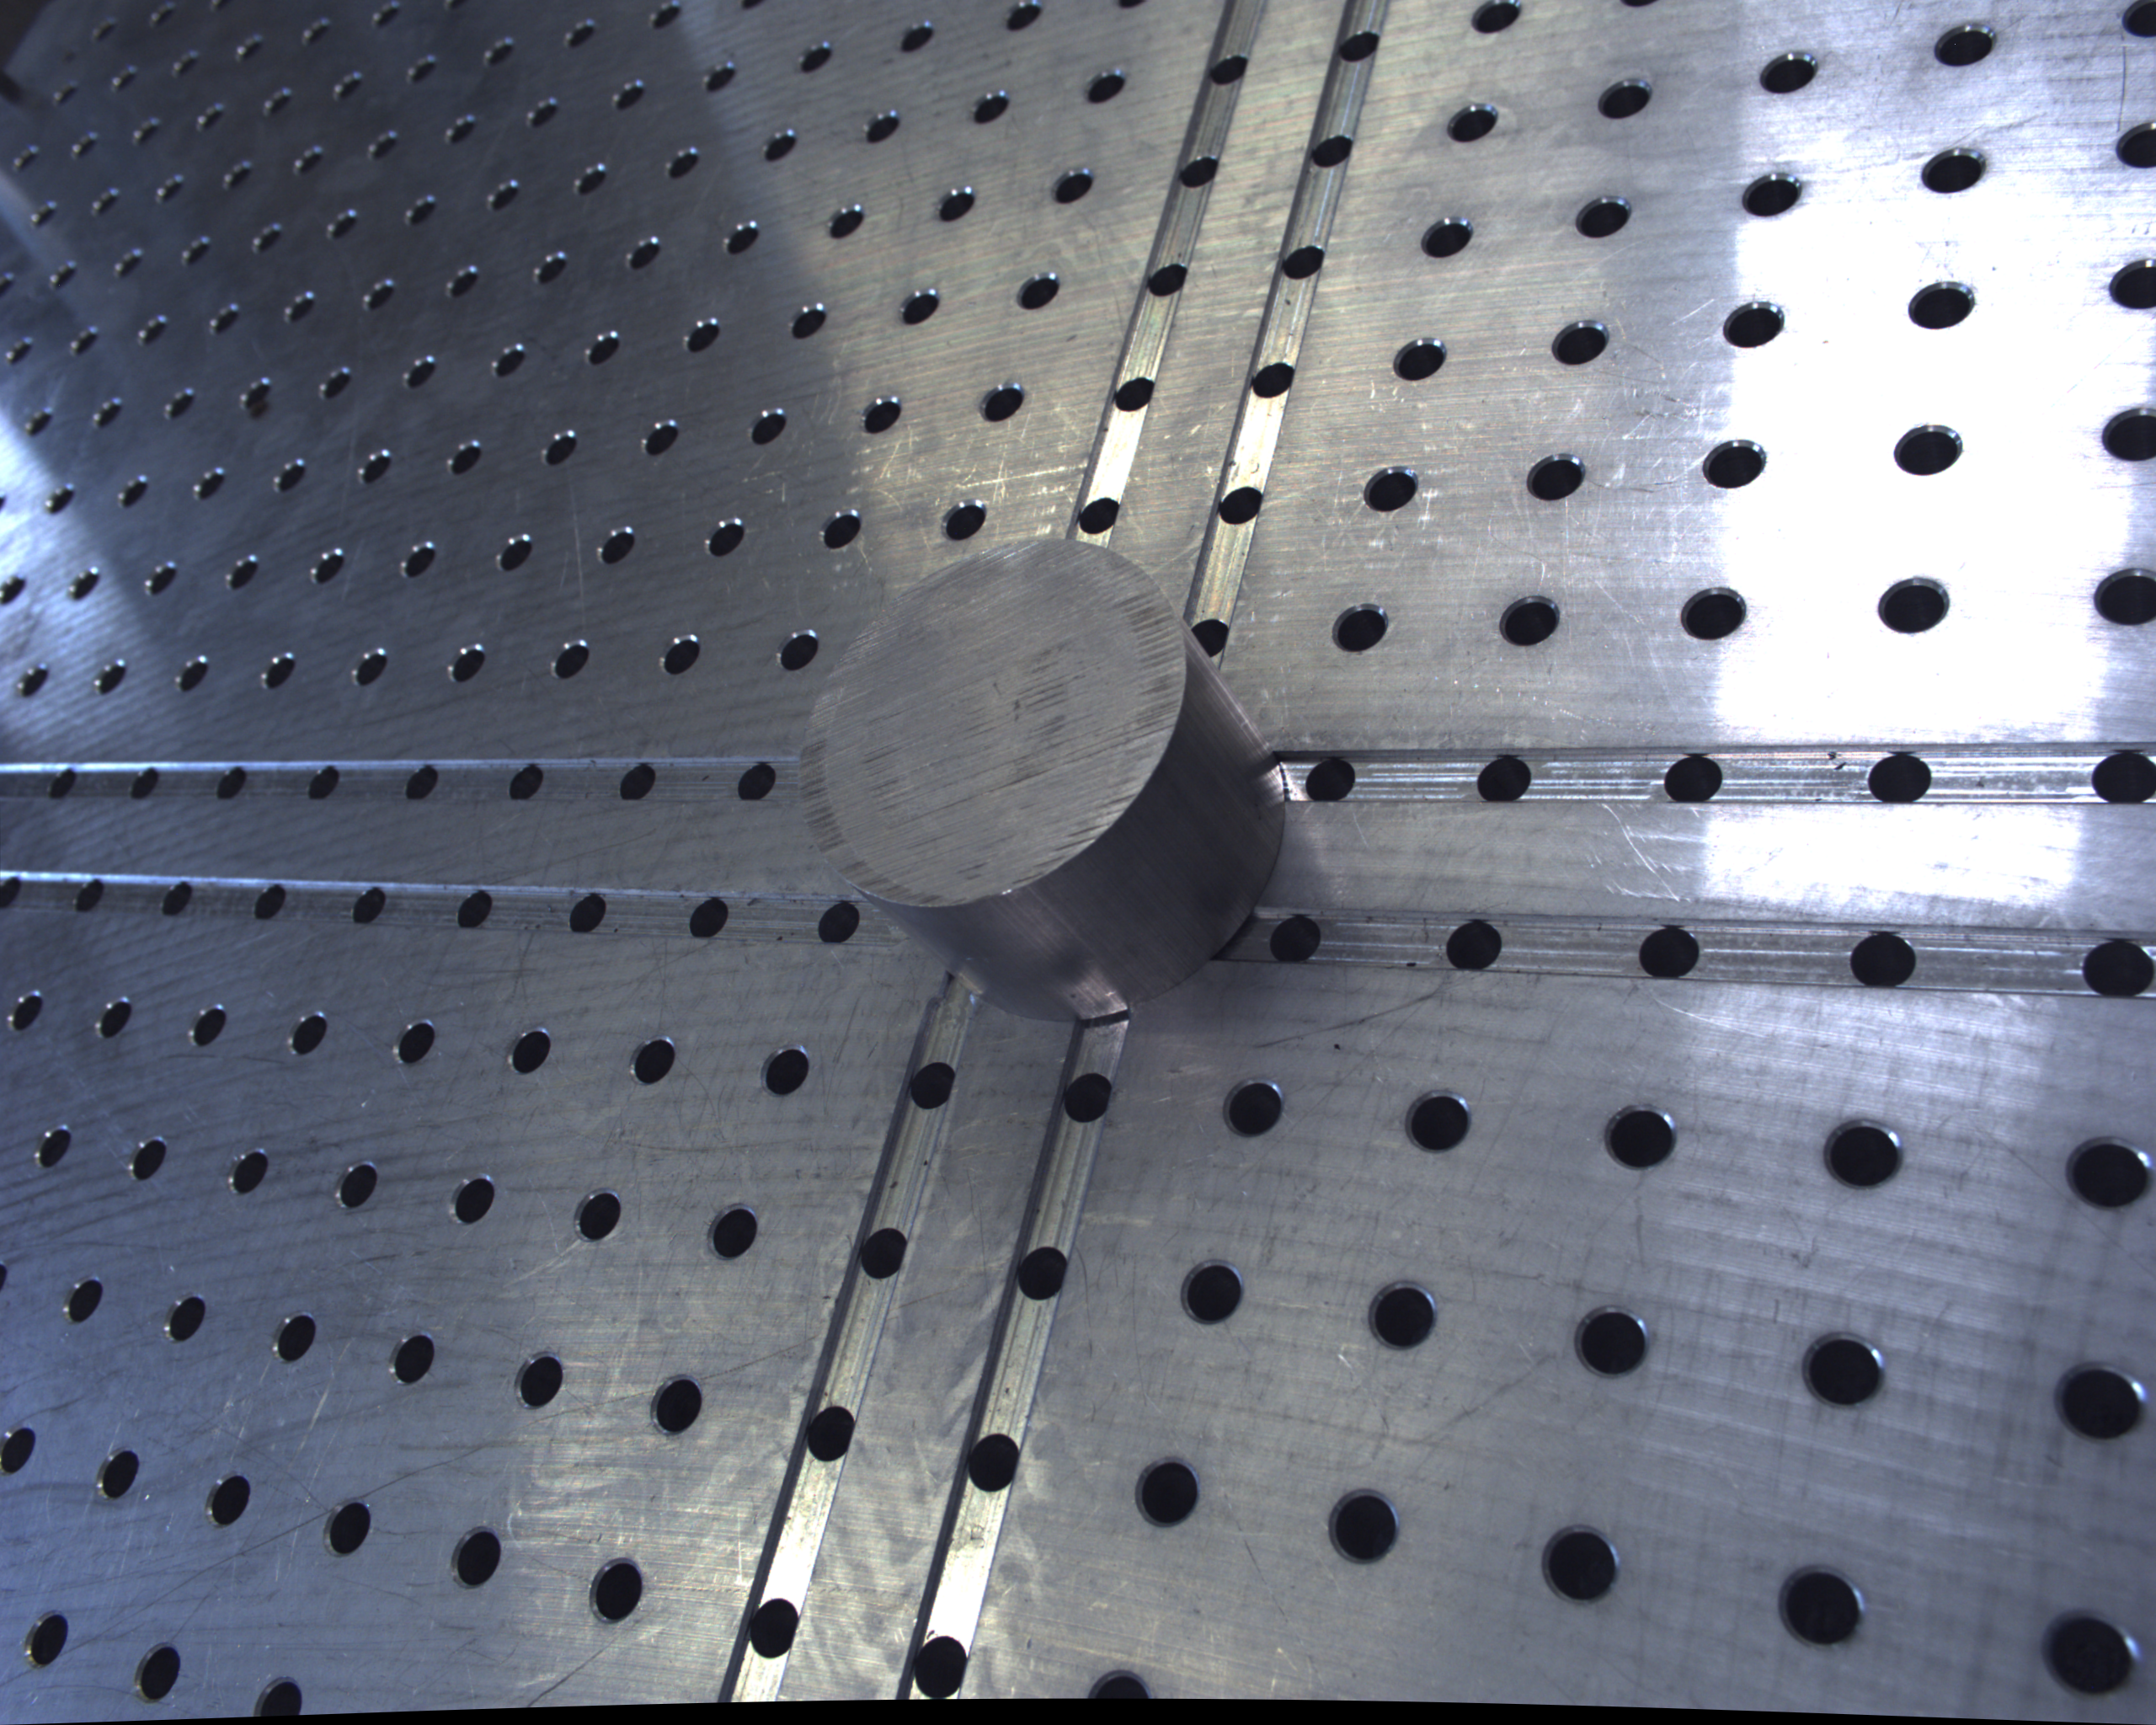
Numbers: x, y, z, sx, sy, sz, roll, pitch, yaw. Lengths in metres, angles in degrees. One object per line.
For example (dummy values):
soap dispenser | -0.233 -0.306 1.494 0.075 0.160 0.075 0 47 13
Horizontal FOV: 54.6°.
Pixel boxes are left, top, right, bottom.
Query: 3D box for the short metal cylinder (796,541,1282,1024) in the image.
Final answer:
short metal cylinder | -0.007 -0.015 0.406 0.080 0.050 0.080 -13 56 21
